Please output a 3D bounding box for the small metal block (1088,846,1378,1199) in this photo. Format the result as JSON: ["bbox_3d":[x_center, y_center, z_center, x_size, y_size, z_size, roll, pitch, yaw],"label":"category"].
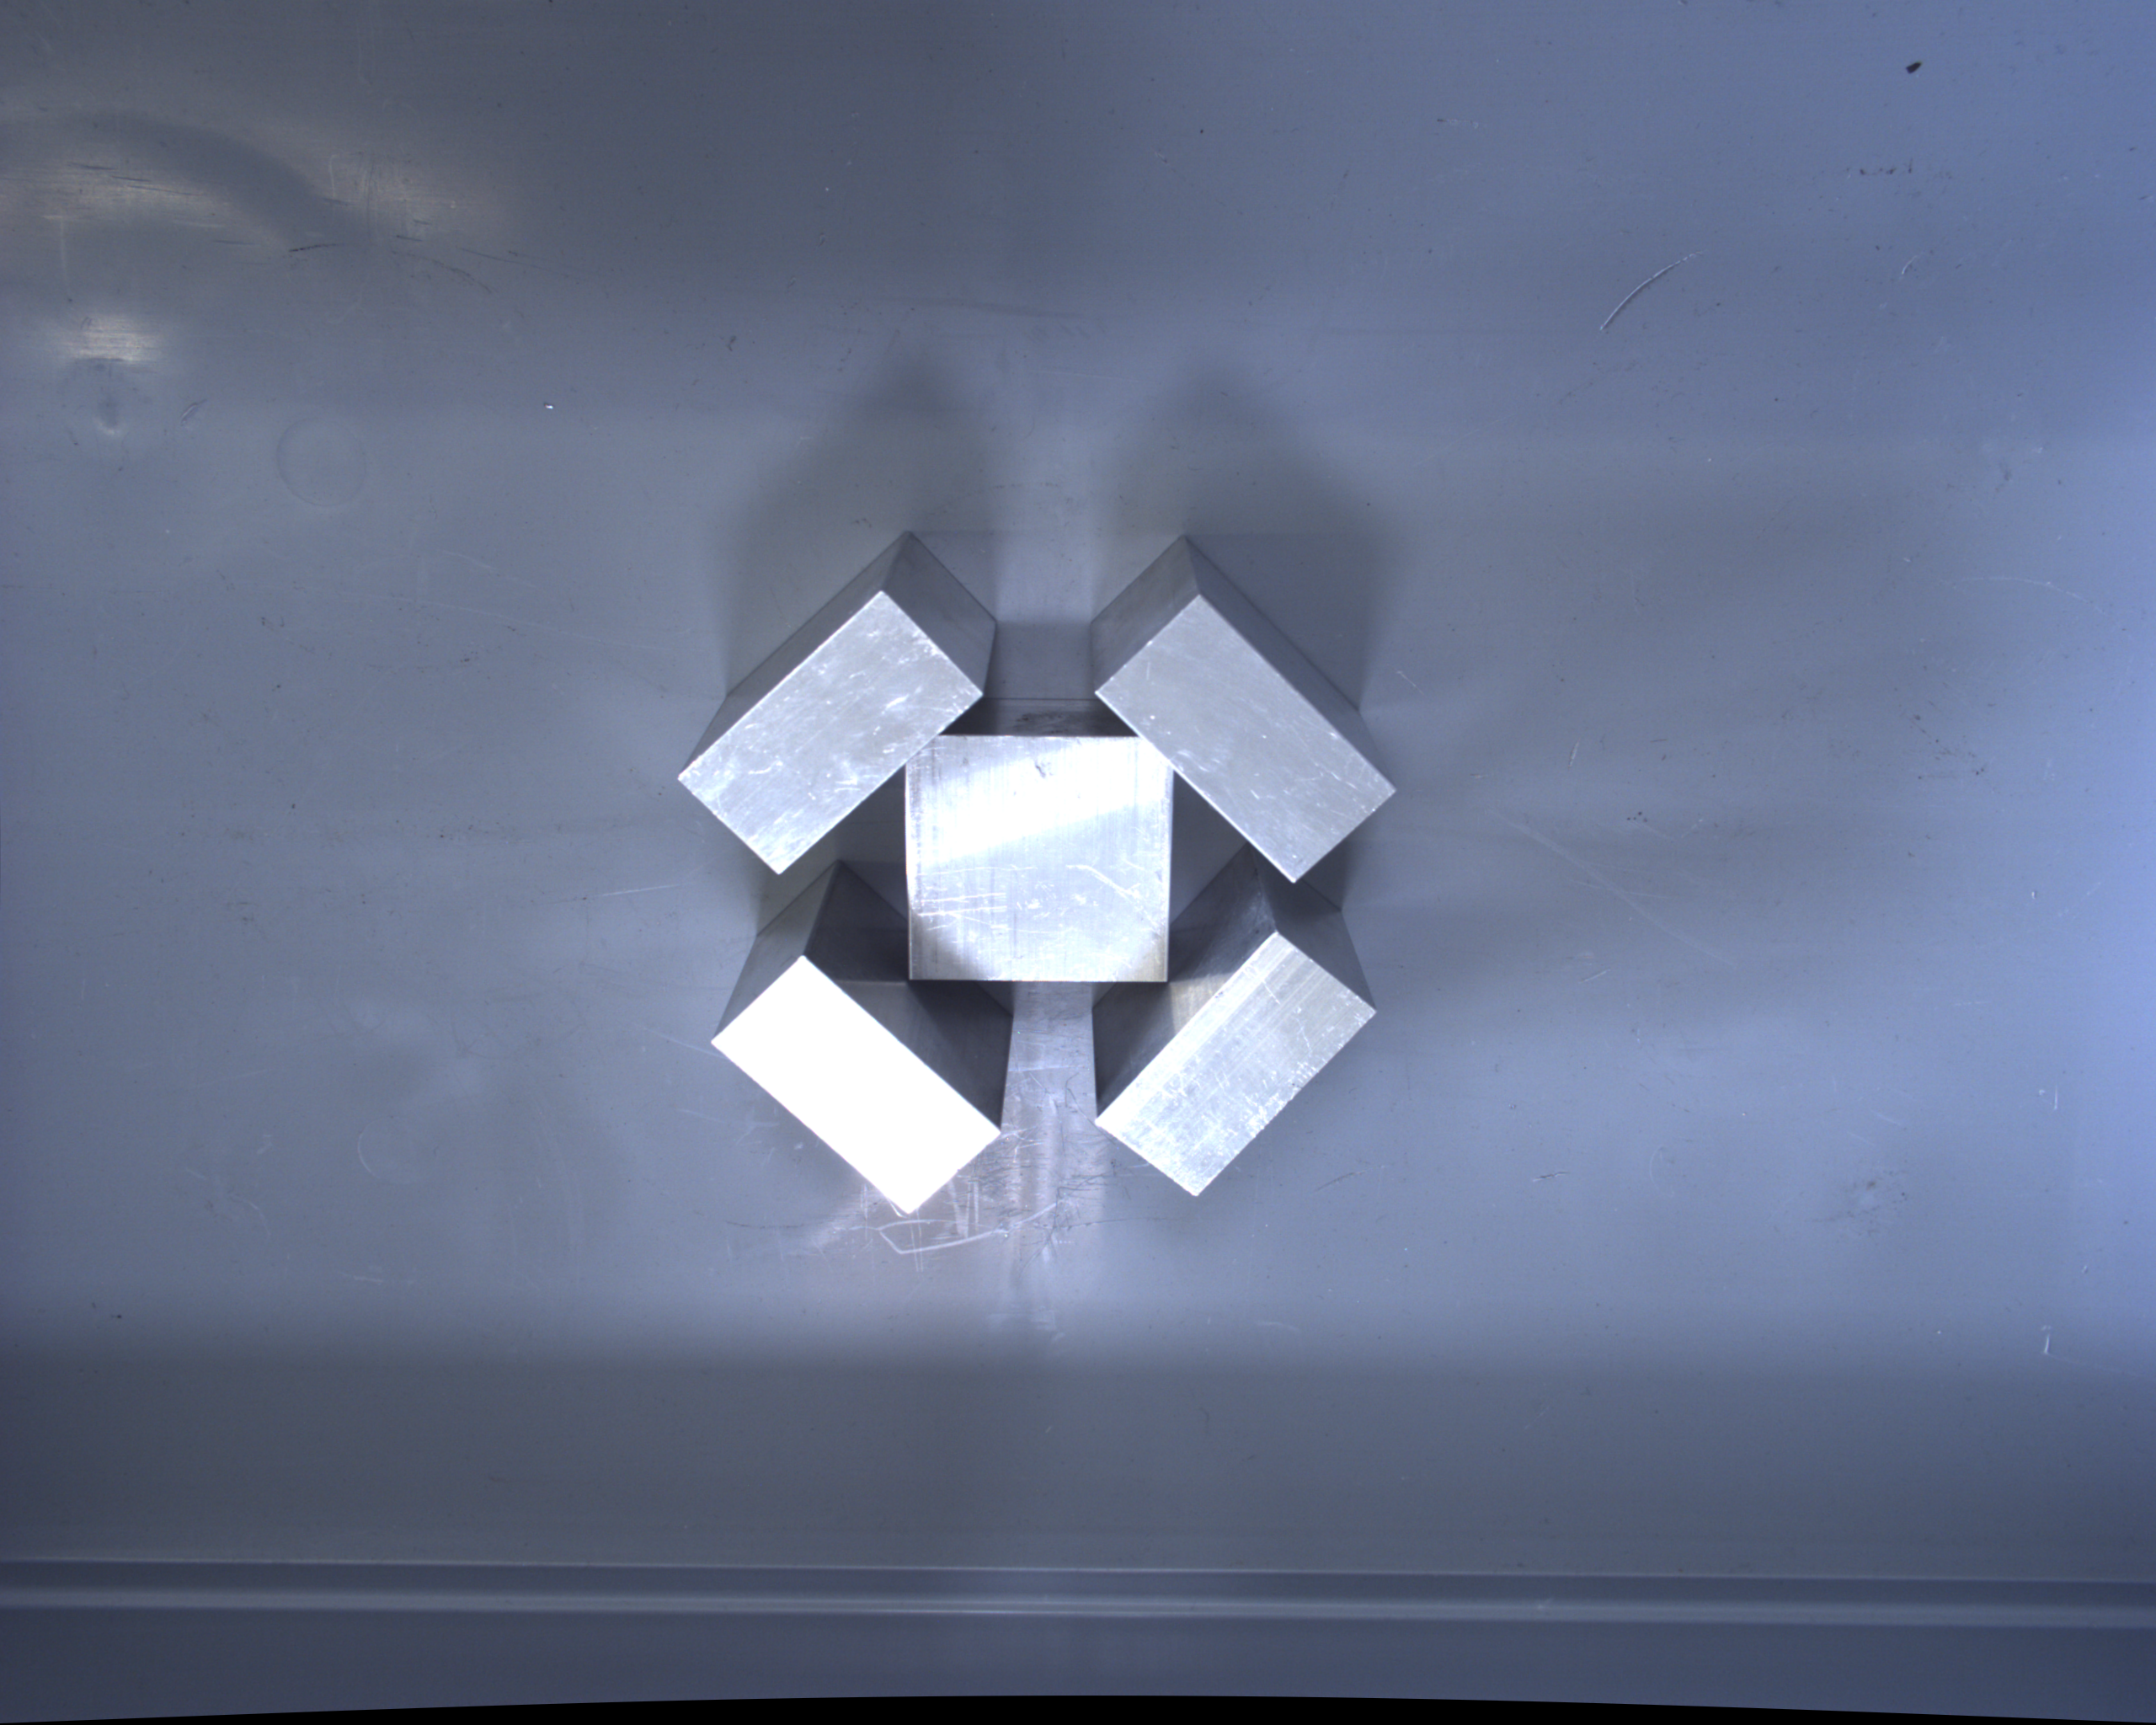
[{"bbox_3d":[0.028,0.029,0.406,0.025,0.050,0.050,38,105,-14],"label":"small metal block"}]

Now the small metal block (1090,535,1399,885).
[{"bbox_3d":[0.029,-0.029,0.385,0.025,0.050,0.050,-43,106,13],"label":"small metal block"}]

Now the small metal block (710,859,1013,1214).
[{"bbox_3d":[-0.040,0.033,0.408,0.025,0.050,0.050,-43,105,15],"label":"small metal block"}]

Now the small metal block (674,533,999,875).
[{"bbox_3d":[-0.043,-0.031,0.384,0.050,0.050,0.025,-40,105,14],"label":"small metal block"}]

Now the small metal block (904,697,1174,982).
[{"bbox_3d":[-0.007,-0.005,0.407,0.050,0.025,0.050,1,110,-1],"label":"small metal block"}]
